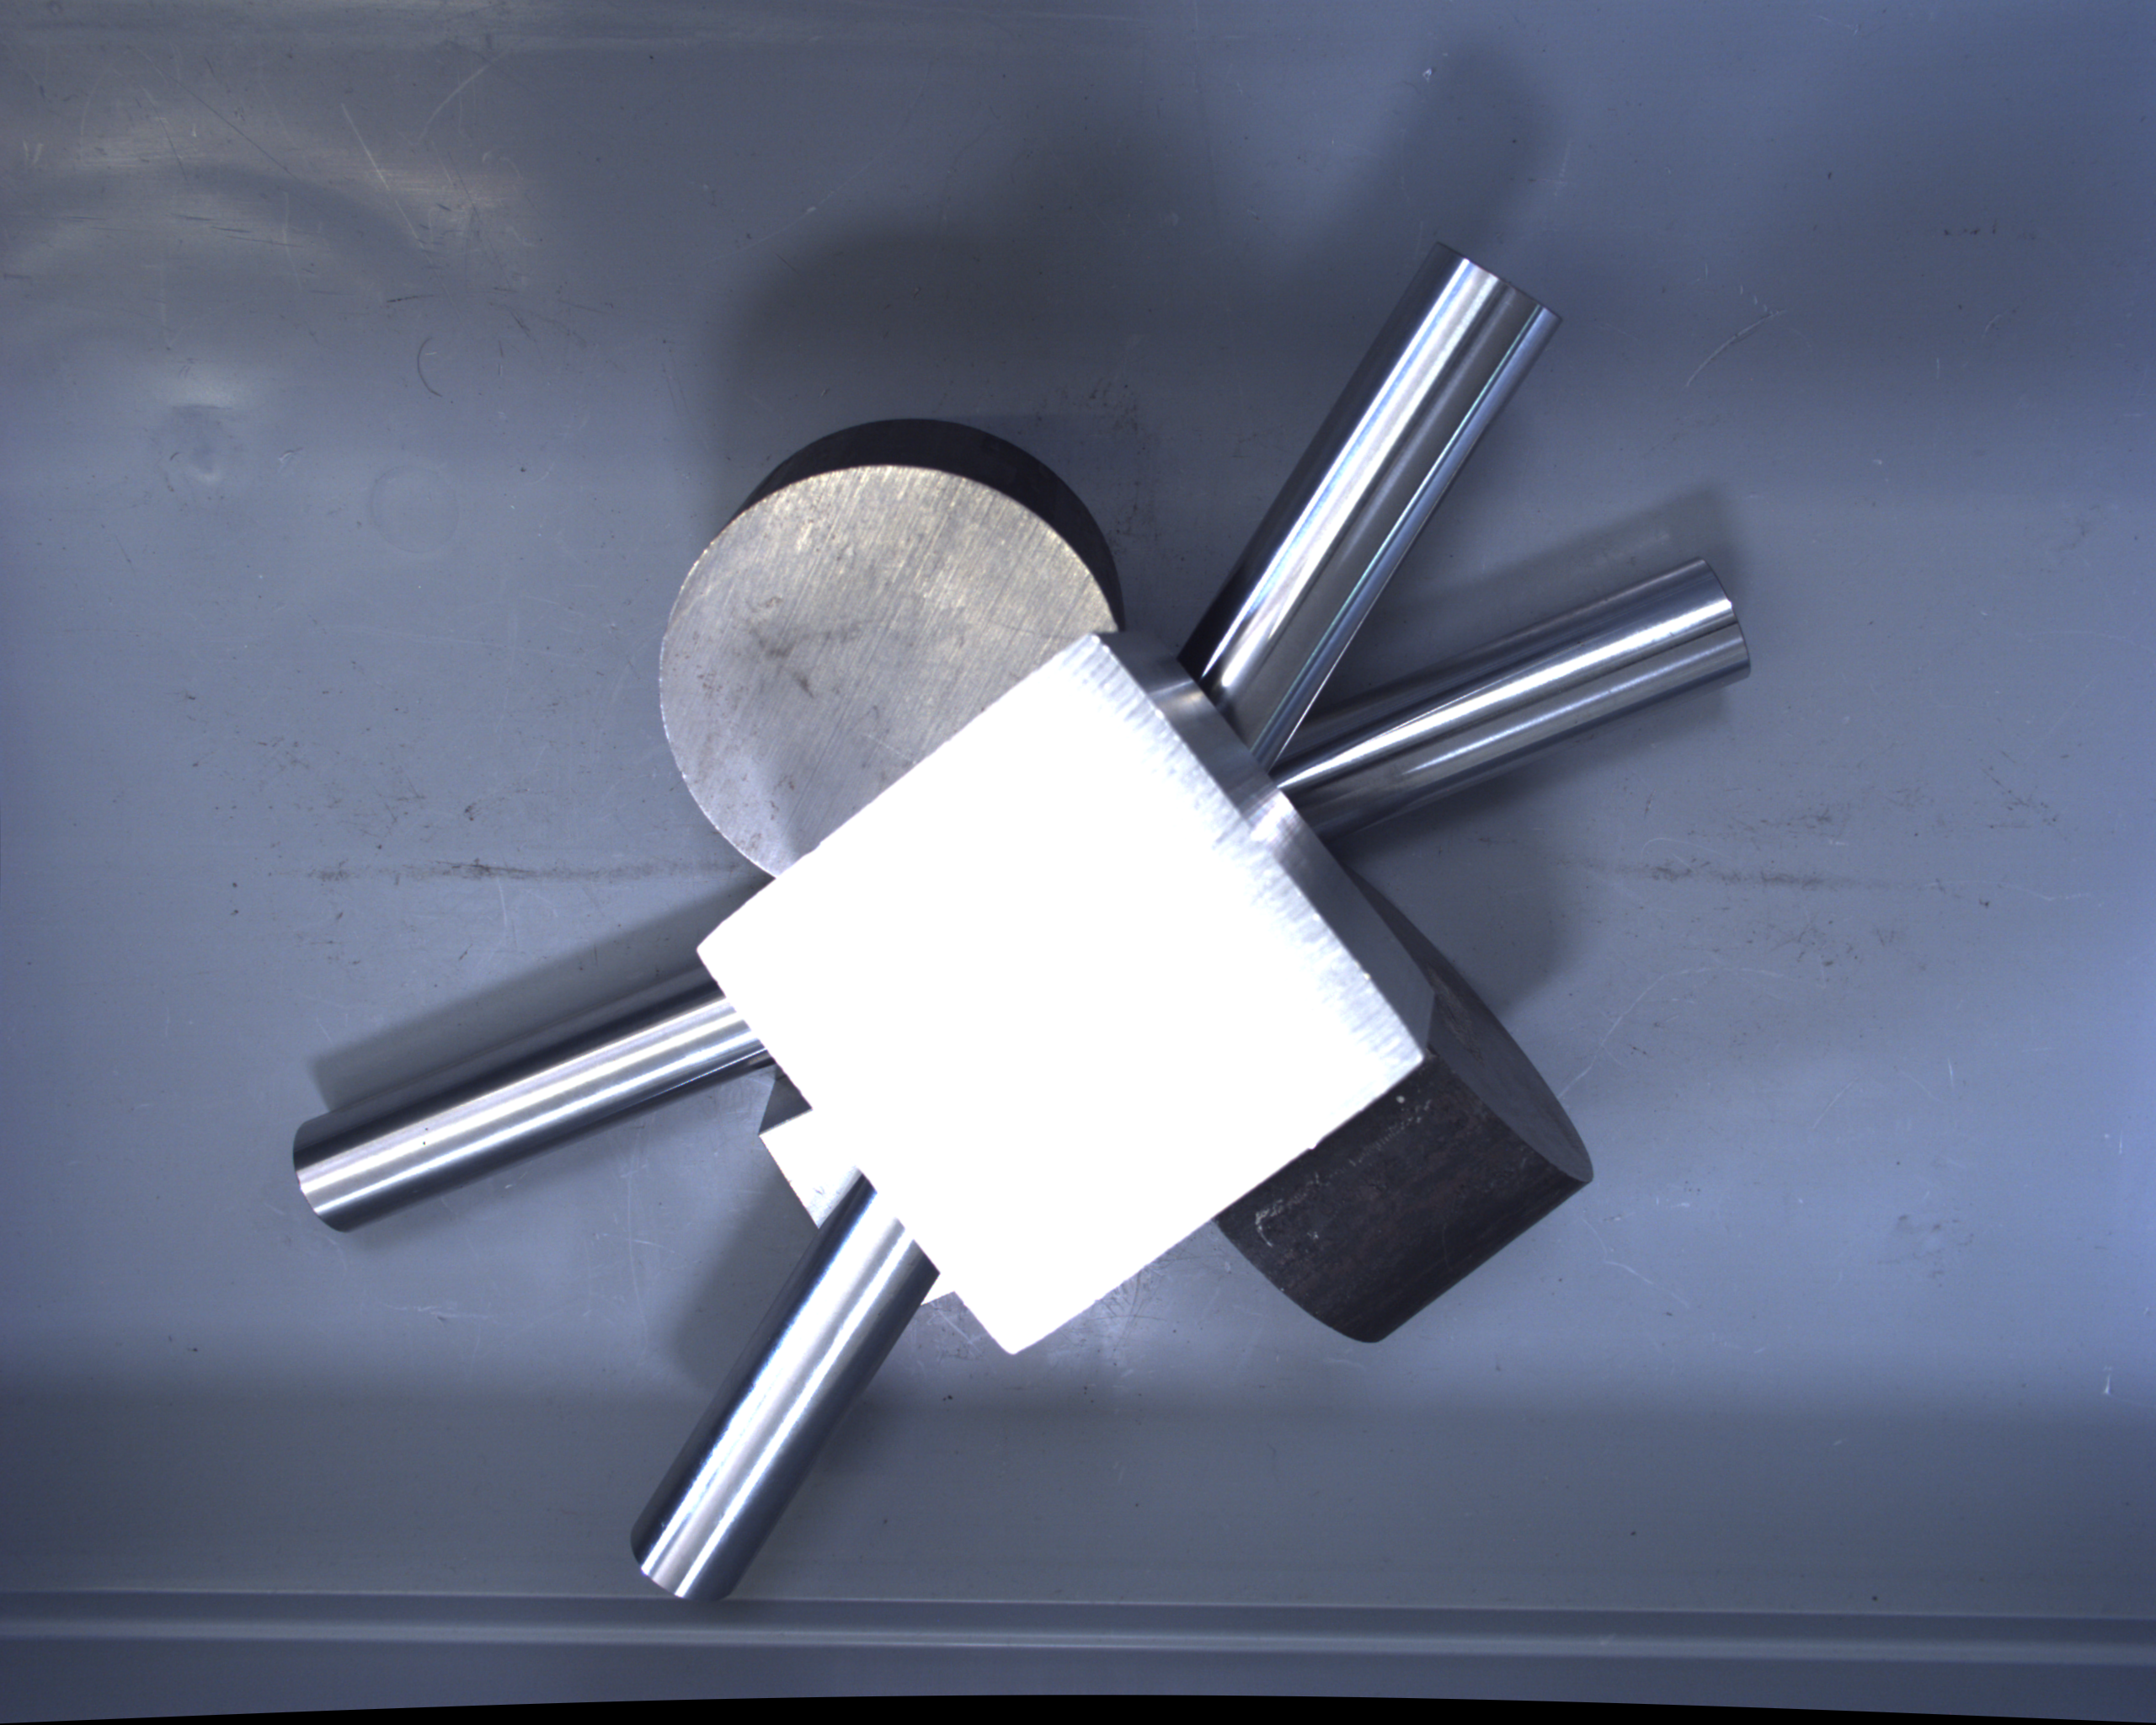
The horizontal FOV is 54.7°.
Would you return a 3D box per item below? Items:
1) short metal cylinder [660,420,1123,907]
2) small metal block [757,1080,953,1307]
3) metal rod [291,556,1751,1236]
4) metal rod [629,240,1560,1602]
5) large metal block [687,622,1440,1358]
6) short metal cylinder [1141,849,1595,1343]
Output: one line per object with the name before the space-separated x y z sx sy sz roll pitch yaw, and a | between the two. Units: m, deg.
short metal cylinder | -0.032 -0.037 0.382 0.081 0.050 0.079 0 110 0
small metal block | -0.030 0.060 0.431 0.050 0.025 0.050 -27 108 9
metal rod | -0.017 0.010 0.413 0.301 0.025 0.025 -22 109 7
metal rod | -0.006 0.023 0.392 0.025 0.025 0.298 29 107 -10
large metal block | 0.000 0.018 0.335 0.080 0.050 0.080 -38 89 13
short metal cylinder | 0.052 0.043 0.397 0.050 0.080 0.080 -41 105 14
